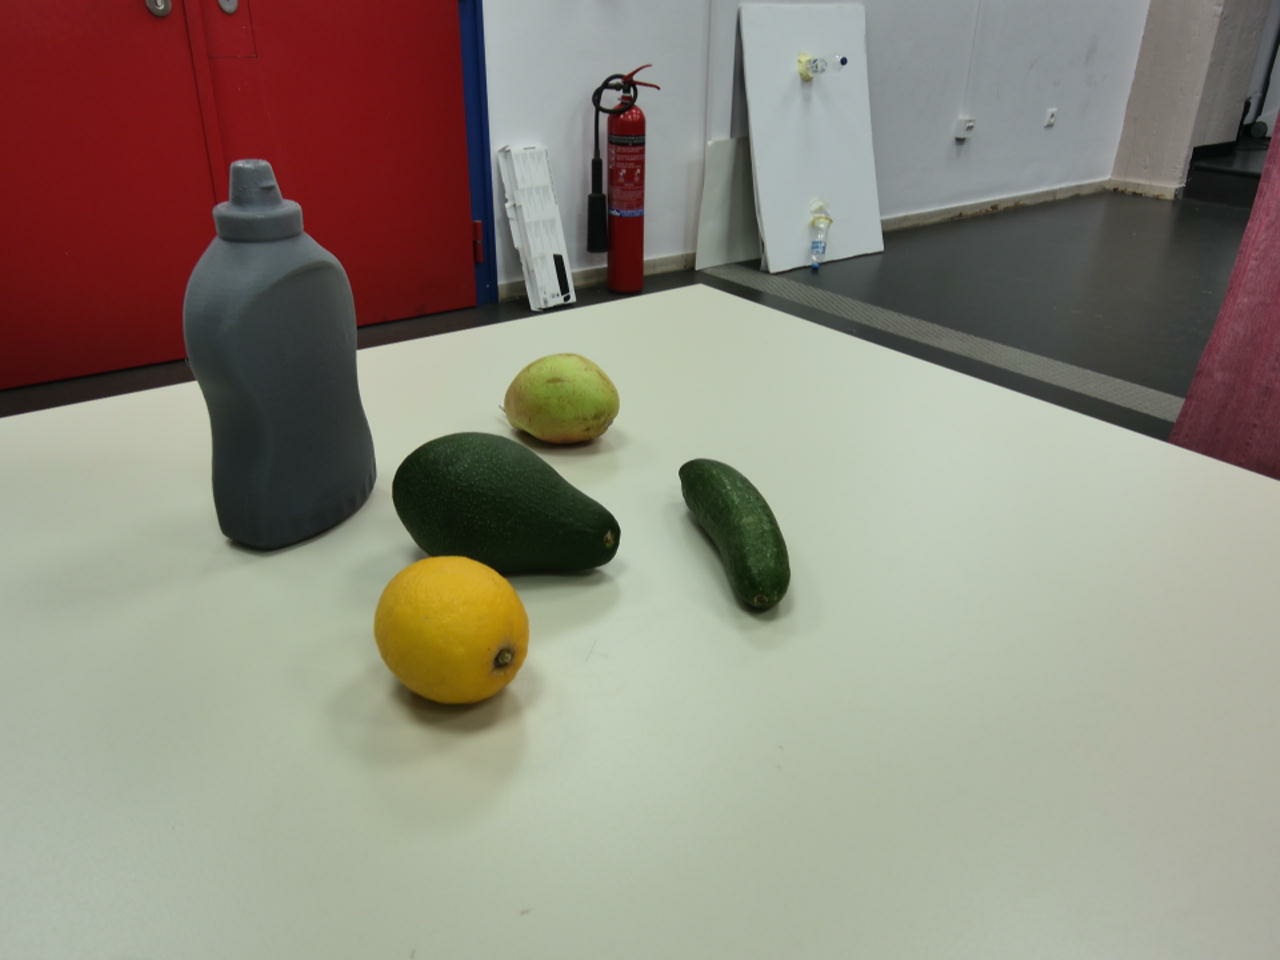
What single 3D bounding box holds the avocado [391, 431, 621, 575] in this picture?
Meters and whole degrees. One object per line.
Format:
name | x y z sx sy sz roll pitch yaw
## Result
avocado | -0.069 0.014 0.504 0.110 0.071 0.072 14 28 27
